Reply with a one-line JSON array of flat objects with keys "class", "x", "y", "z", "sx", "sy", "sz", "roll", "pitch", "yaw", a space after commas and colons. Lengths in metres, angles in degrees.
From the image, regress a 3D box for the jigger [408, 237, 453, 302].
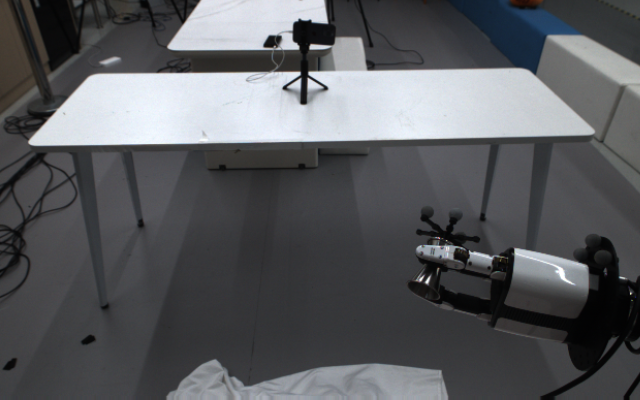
[{"class": "jigger", "x": 0.142, "y": 0.082, "z": 0.610, "sx": 0.043, "sy": 0.043, "sz": 0.071, "roll": 19, "pitch": 61, "yaw": 23}]
